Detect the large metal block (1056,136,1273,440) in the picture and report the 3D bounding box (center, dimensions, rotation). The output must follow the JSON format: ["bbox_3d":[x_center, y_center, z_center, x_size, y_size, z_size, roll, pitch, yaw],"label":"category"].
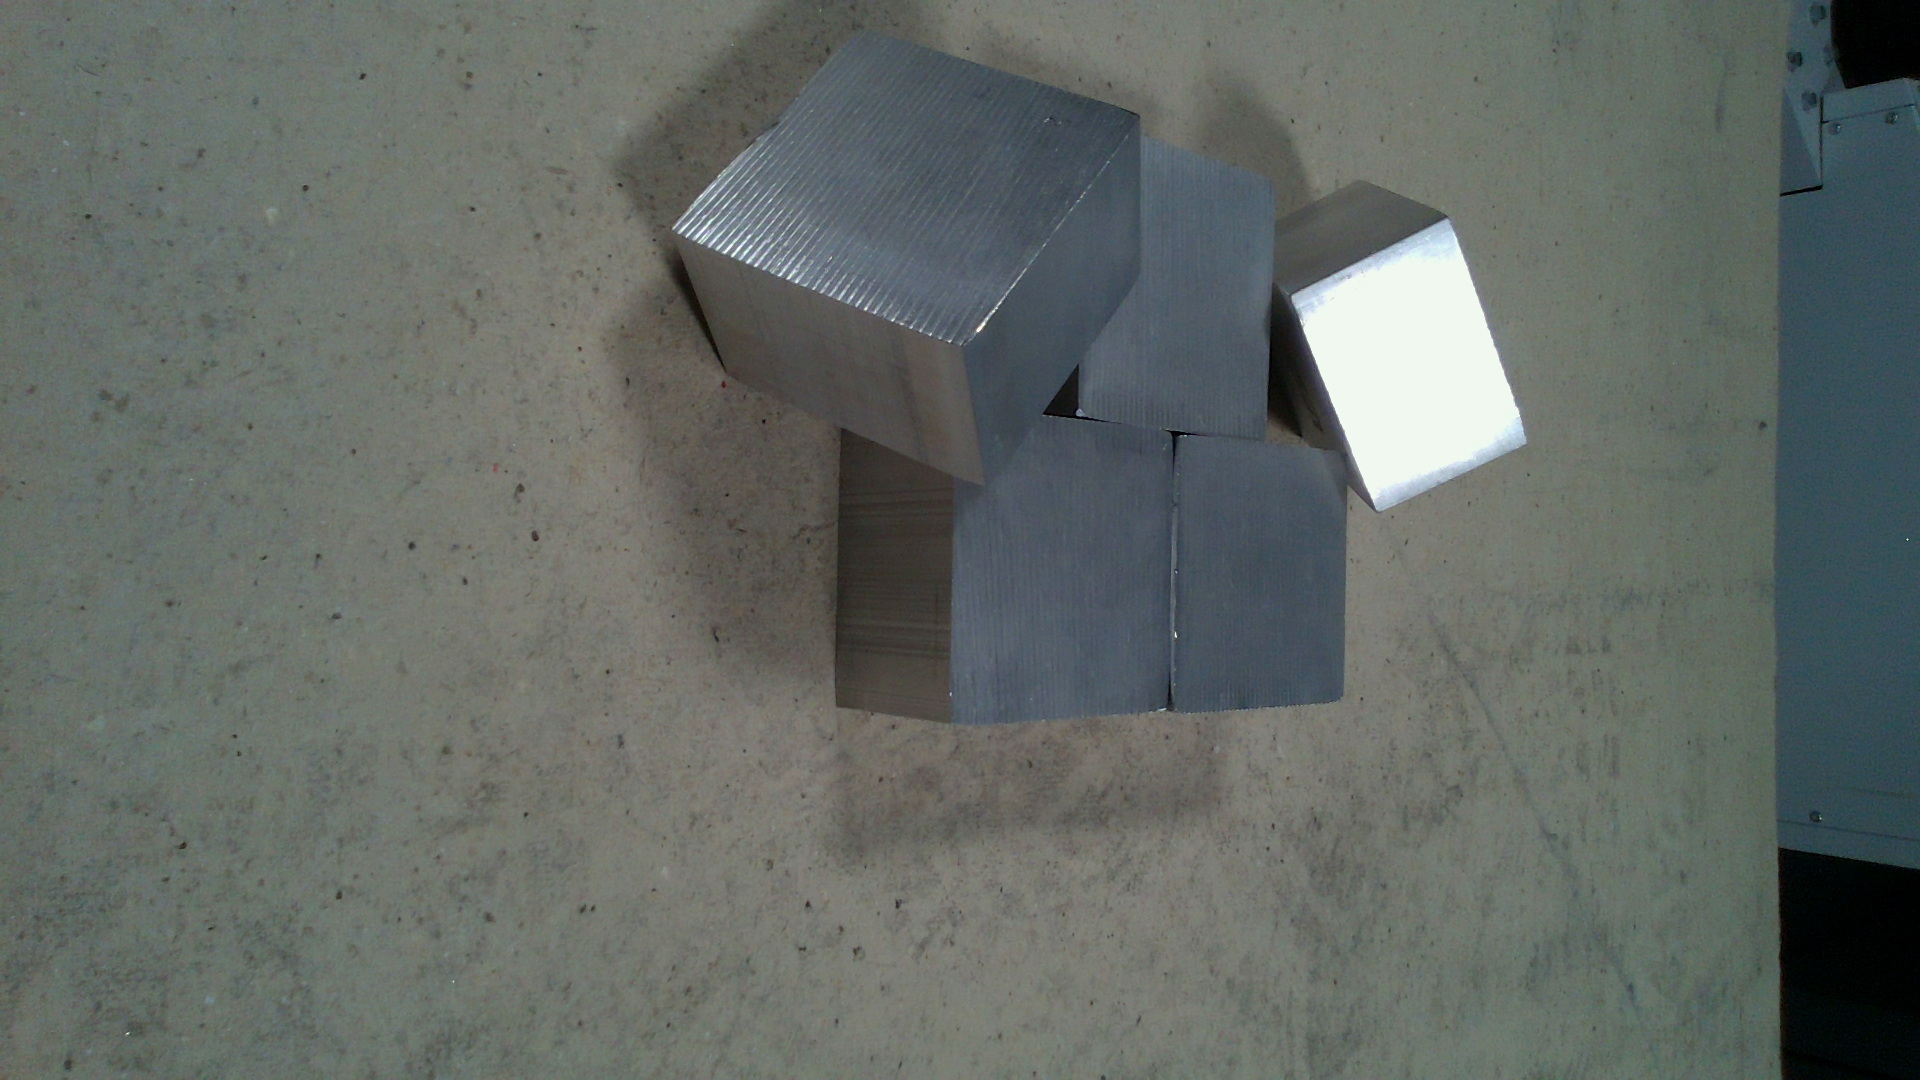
[{"bbox_3d":[0.047,-0.072,0.413,0.080,0.050,0.080,4,88,-40],"label":"large metal block"}]

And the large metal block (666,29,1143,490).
[{"bbox_3d":[-0.010,-0.071,0.336,0.080,0.080,0.050,-55,156,-26],"label":"large metal block"}]

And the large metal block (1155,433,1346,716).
[{"bbox_3d":[0.076,0.011,0.434,0.080,0.050,0.080,2,89,-40],"label":"large metal block"}]

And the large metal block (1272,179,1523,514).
[{"bbox_3d":[0.134,-0.067,0.457,0.050,0.080,0.080,-26,112,6],"label":"large metal block"}]

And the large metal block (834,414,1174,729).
[{"bbox_3d":[0.013,0.007,0.383,0.080,0.050,0.080,2,89,-40],"label":"large metal block"}]
